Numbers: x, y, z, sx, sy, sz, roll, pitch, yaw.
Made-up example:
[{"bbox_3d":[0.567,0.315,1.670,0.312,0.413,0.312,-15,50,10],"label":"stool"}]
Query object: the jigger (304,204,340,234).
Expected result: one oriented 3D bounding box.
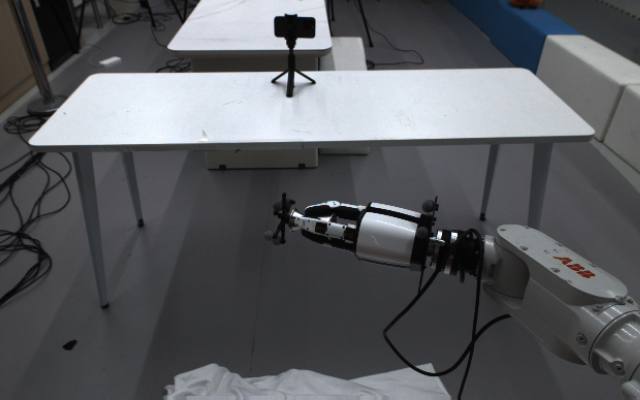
[{"bbox_3d":[-0.006,0.033,0.784,0.071,0.043,0.043,8,35,16],"label":"jigger"}]
